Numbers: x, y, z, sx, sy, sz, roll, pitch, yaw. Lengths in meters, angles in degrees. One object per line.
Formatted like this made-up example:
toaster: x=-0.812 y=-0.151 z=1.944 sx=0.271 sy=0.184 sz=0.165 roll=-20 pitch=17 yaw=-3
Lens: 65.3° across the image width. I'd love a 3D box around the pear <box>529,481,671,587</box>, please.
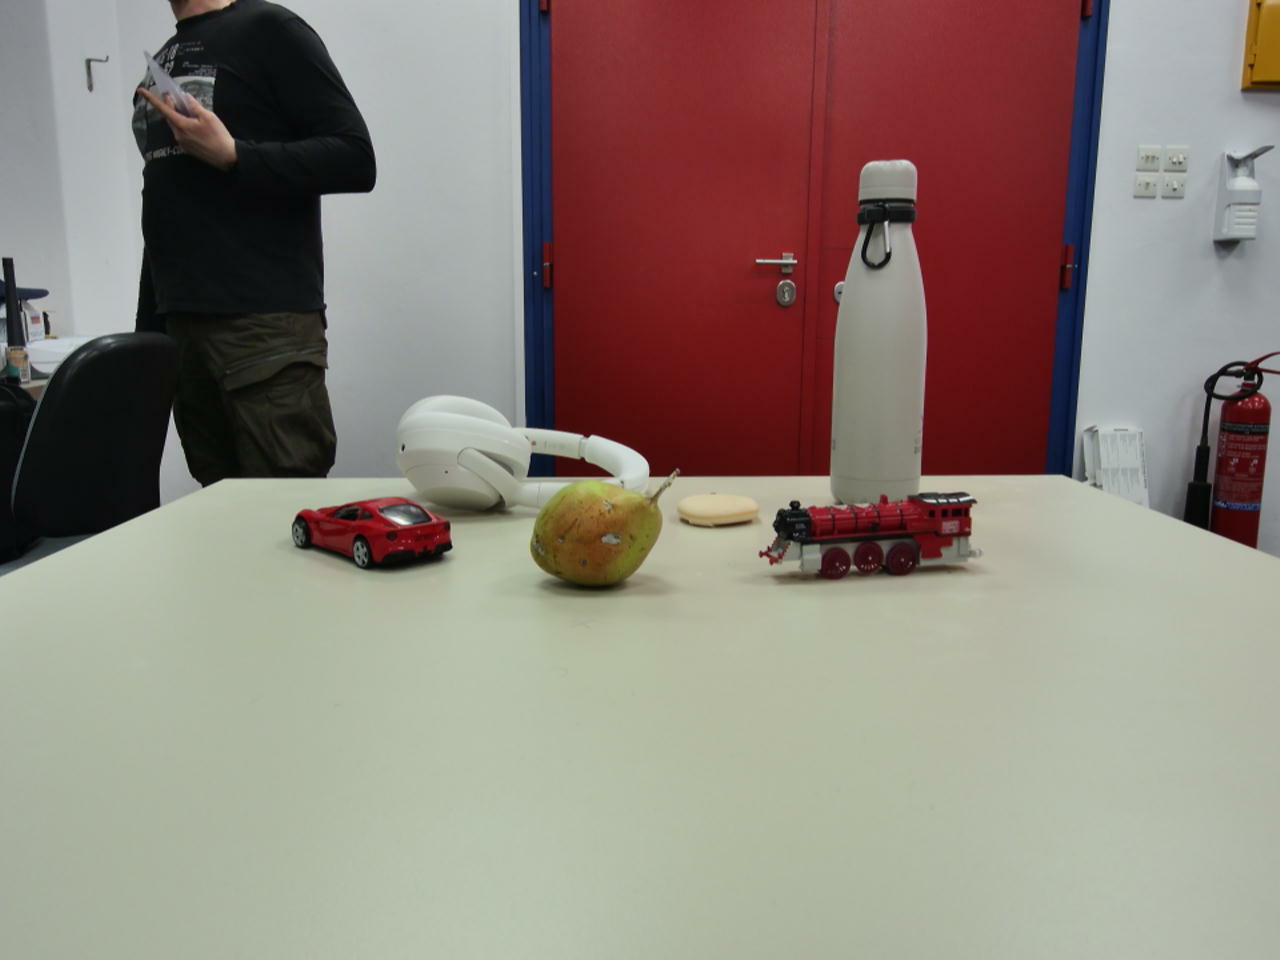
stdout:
pear: x=-0.026 y=0.029 z=0.598 sx=0.068 sy=0.069 sz=0.070 roll=-7 pitch=10 yaw=-39
